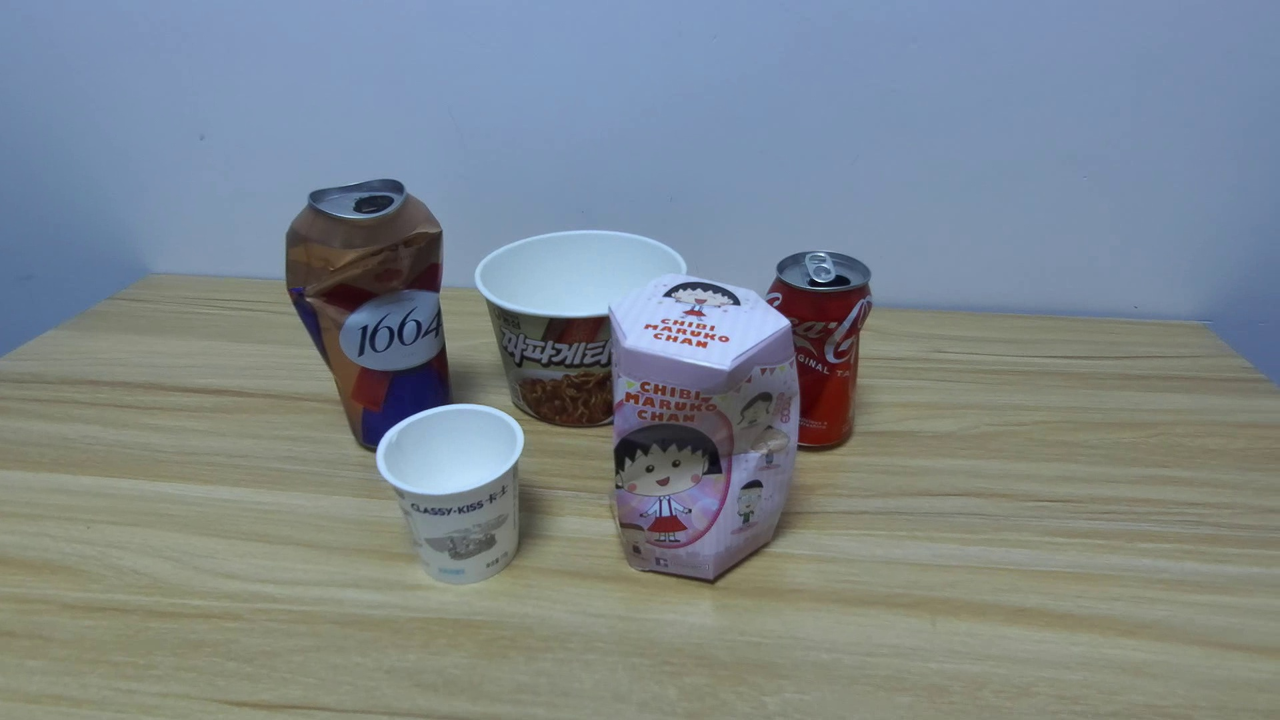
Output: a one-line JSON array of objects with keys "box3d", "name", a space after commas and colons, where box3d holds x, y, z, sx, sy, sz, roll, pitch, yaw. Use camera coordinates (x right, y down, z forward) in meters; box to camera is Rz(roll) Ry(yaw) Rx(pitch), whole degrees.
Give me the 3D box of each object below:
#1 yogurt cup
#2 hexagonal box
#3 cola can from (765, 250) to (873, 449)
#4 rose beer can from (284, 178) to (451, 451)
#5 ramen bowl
[{"box3d": [-0.091, 0.071, 0.360, 0.072, 0.068, 0.072, 0, 31, 1], "name": "yogurt cup"}, {"box3d": [0.023, 0.035, 0.357, 0.089, 0.135, 0.093, -10, 32, -16], "name": "hexagonal box"}, {"box3d": [0.108, -0.007, 0.443, 0.066, 0.117, 0.066, 18, 35, 29], "name": "cola can"}, {"box3d": [-0.157, -0.024, 0.431, 0.068, 0.162, 0.073, 9, 34, 13], "name": "rose beer can"}, {"box3d": [-0.040, -0.022, 0.495, 0.140, 0.095, 0.140, 1, 30, 0], "name": "ramen bowl"}]
